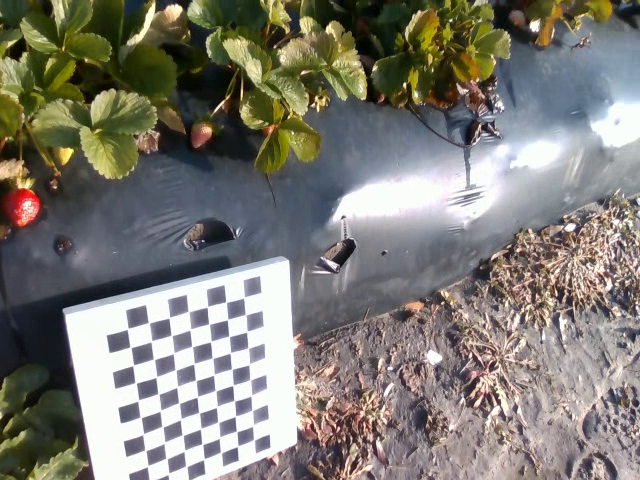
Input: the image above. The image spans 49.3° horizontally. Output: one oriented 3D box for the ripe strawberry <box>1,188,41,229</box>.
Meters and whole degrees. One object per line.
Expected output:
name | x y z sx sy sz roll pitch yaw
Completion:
ripe strawberry | -0.282 -0.023 0.651 0.046 0.054 0.037 10 -36 -34
